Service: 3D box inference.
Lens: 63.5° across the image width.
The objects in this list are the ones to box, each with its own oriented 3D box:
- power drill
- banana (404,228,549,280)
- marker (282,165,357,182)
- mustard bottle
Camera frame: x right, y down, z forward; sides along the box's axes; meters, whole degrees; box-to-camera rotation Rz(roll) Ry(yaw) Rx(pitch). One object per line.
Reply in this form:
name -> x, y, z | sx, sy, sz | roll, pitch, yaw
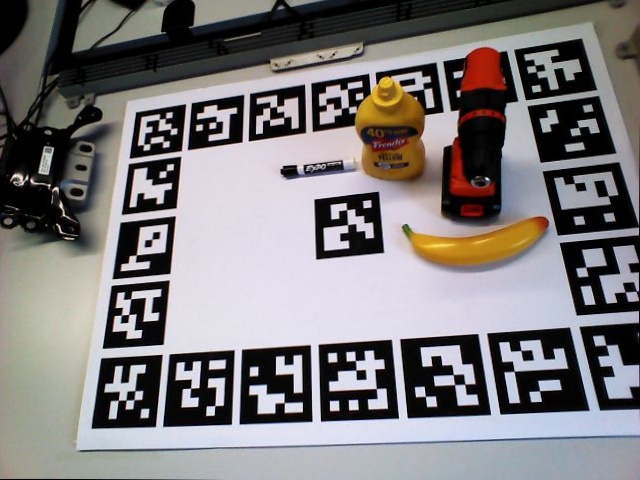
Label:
power drill -> 0.206, -0.097, 0.673 | 0.057, 0.187, 0.183 | 9, 68, 14
banana -> 0.216, 0.020, 0.730 | 0.198, 0.039, 0.074 | 2, 71, 15
marker -> -0.002, -0.108, 0.838 | 0.121, 0.019, 0.019 | -3, 69, 12
mustard bottle -> 0.105, -0.142, 0.732 | 0.096, 0.191, 0.058 | 6, 70, 14
